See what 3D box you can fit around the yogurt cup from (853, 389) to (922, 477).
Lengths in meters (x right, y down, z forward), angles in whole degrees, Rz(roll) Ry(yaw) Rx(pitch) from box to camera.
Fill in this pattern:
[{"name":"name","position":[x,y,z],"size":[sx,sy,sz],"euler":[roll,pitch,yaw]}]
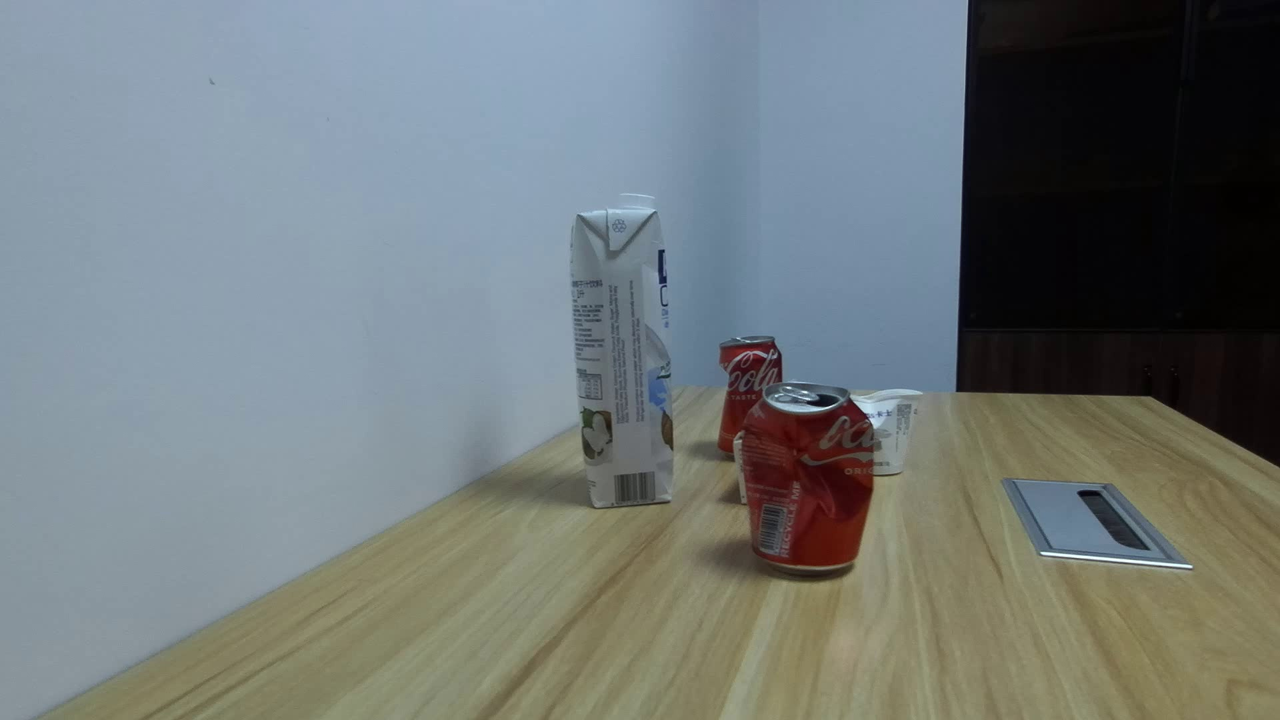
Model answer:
[{"name":"yogurt cup","position":[0.213,0.064,0.641],"size":[0.076,0.071,0.053],"euler":[-4,7,-26]}]

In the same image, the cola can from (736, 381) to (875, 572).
[{"name":"cola can","position":[0.101,0.072,0.441],"size":[0.066,0.112,0.069],"euler":[-8,12,-32]}]

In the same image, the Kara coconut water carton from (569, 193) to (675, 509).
[{"name":"Kara coconut water carton","position":[-0.014,-0.008,0.574],"size":[0.075,0.245,0.077],"euler":[-4,9,-6]}]

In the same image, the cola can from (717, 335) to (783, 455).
[{"name":"cola can","position":[0.110,0.036,0.694],"size":[0.065,0.117,0.072],"euler":[2,8,19]}]
